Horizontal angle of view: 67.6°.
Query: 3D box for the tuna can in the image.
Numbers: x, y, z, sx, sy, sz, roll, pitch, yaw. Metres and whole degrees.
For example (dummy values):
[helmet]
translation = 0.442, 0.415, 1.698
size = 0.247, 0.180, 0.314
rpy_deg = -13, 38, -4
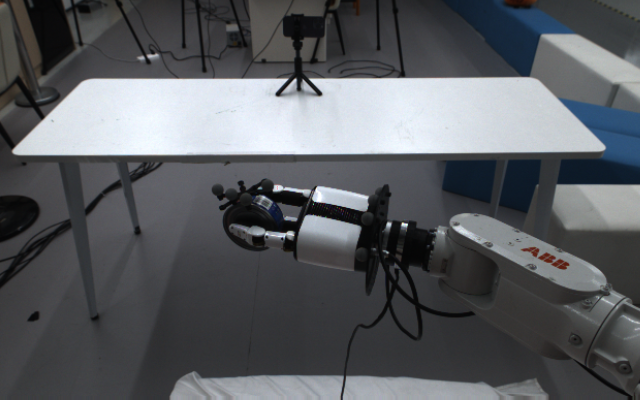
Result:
[tuna can]
translation = -0.092, 0.033, 0.716
size = 0.085, 0.085, 0.034
rpy_deg = 10, 33, 11
